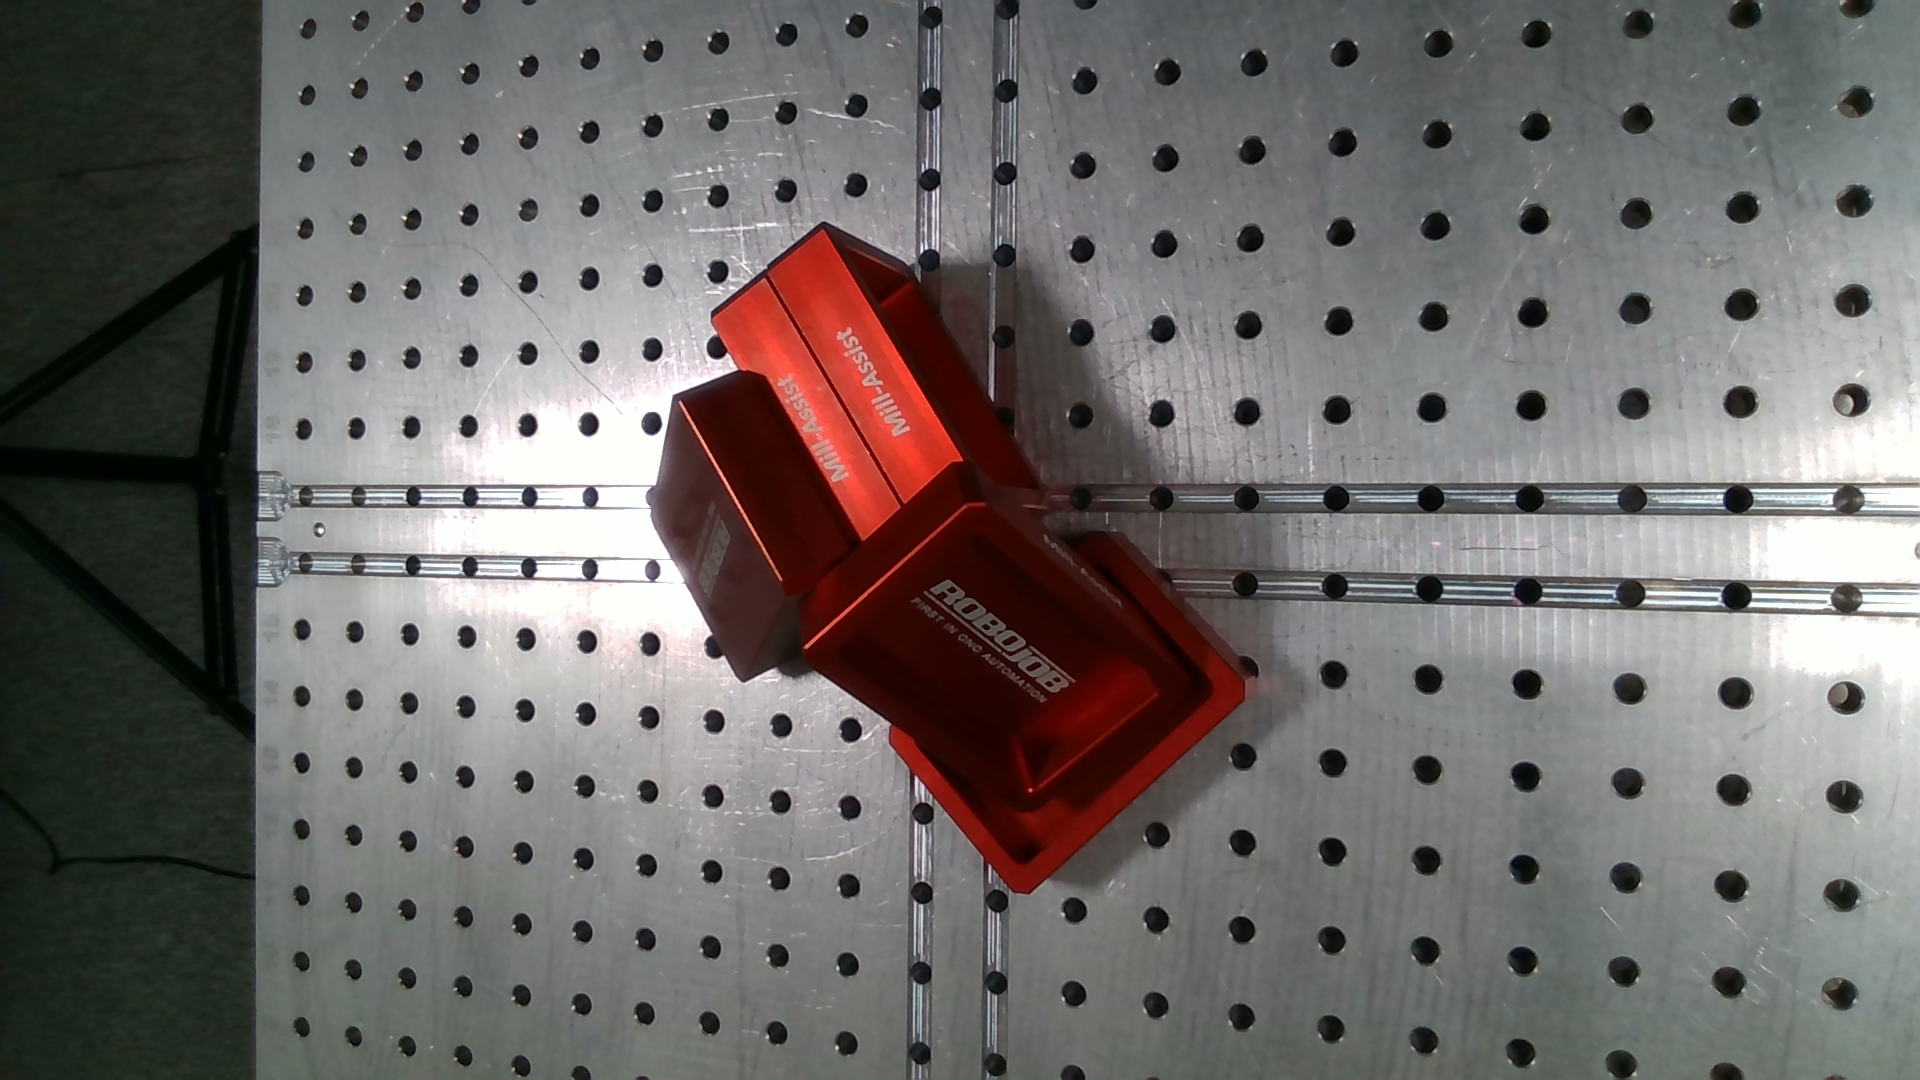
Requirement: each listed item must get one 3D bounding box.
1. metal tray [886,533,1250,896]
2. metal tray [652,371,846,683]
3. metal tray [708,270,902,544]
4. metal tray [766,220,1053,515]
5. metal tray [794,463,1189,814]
[{"bbox_3d":[0.044,0.071,0.569,0.130,0.030,0.090,-46,76,15],"label":"metal tray"},{"bbox_3d":[-0.092,0.000,0.573,0.030,0.130,0.090,-26,78,-24],"label":"metal tray"},{"bbox_3d":[-0.042,-0.043,0.567,0.030,0.090,0.130,-34,79,17],"label":"metal tray"},{"bbox_3d":[-0.018,-0.061,0.559,0.030,0.090,0.130,-34,79,17],"label":"metal tray"},{"bbox_3d":[0.013,0.042,0.523,0.090,0.030,0.130,-41,122,16],"label":"metal tray"}]
